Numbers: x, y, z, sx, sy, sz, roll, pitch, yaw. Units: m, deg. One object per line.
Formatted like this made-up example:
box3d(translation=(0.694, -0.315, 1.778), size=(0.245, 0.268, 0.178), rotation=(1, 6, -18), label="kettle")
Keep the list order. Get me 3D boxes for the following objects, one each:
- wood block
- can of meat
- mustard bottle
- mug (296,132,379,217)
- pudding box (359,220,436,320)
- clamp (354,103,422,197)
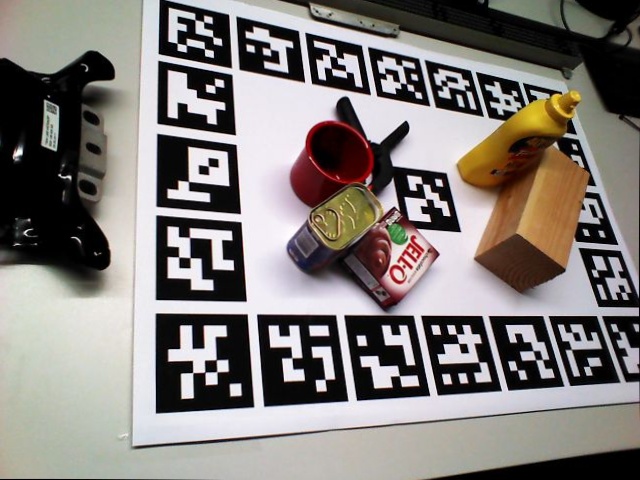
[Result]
box3d(translation=(0.346, -0.023, 0.773), size=(0.090, 0.091, 0.205), rotation=(36, 55, -4), label="wood block")
box3d(translation=(0.035, -0.003, 0.613), size=(0.101, 0.084, 0.058), rotation=(-30, 83, -32), label="can of meat")
box3d(translation=(0.319, -0.142, 0.748), size=(0.096, 0.193, 0.058), rotation=(-2, 69, -25), label="mustard bottle")
box3d(translation=(0.022, -0.090, 0.682), size=(0.093, 0.082, 0.116), rotation=(24, 61, -13), label="mug")
box3d(translation=(0.116, 0.033, 0.668), size=(0.090, 0.039, 0.113), rotation=(48, 55, 1), label="pudding box")
box3d(translation=(0.091, -0.120, 0.733), size=(0.122, 0.037, 0.164), rotation=(22, 62, -16), label="clamp")
